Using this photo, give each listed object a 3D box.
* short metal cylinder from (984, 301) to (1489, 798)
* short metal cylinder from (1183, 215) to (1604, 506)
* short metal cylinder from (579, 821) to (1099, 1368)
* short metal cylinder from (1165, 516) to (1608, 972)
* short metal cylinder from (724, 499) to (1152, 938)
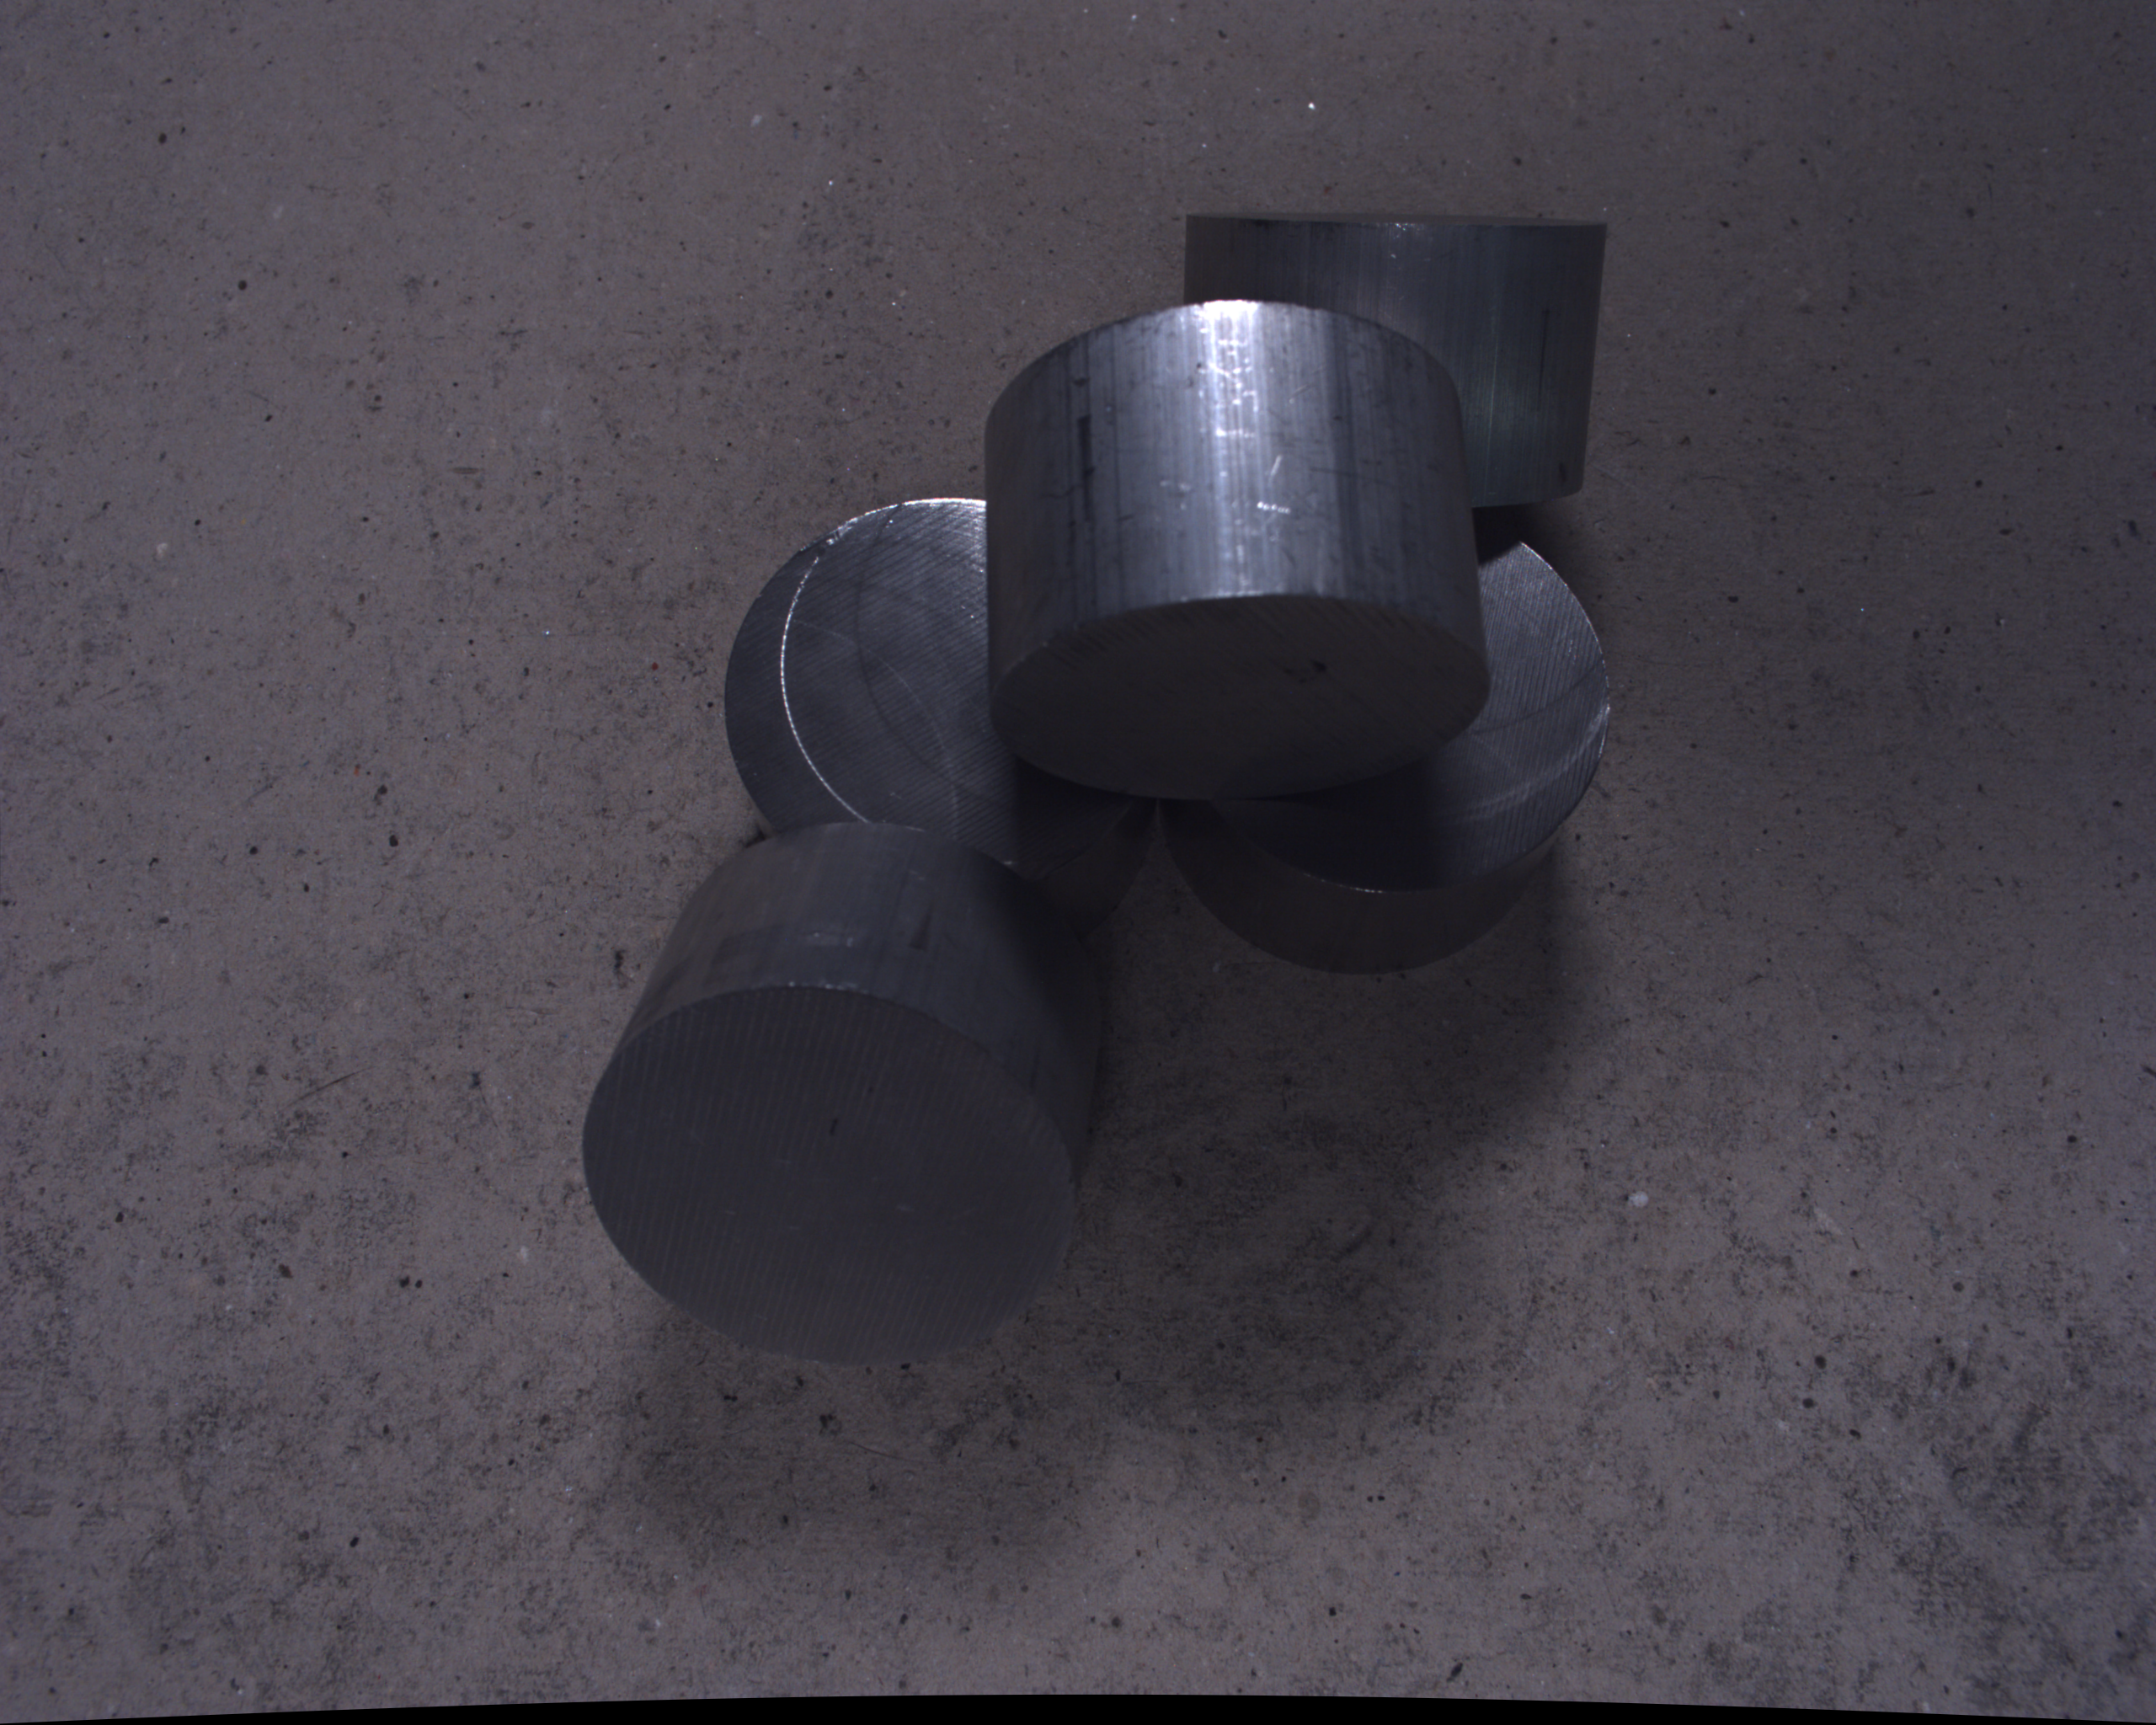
[{"bbox_3d":[0.025,-0.048,0.345,0.081,0.080,0.050,-1,70,-1],"label":"short metal cylinder"},{"bbox_3d":[0.061,-0.101,0.410,0.081,0.080,0.050,1,108,0],"label":"short metal cylinder"},{"bbox_3d":[-0.038,0.040,0.358,0.080,0.079,0.050,7,31,2],"label":"short metal cylinder"},{"bbox_3d":[0.057,-0.024,0.405,0.081,0.050,0.080,0,70,0],"label":"short metal cylinder"},{"bbox_3d":[-0.024,-0.023,0.403,0.081,0.050,0.080,0,70,0],"label":"short metal cylinder"}]
